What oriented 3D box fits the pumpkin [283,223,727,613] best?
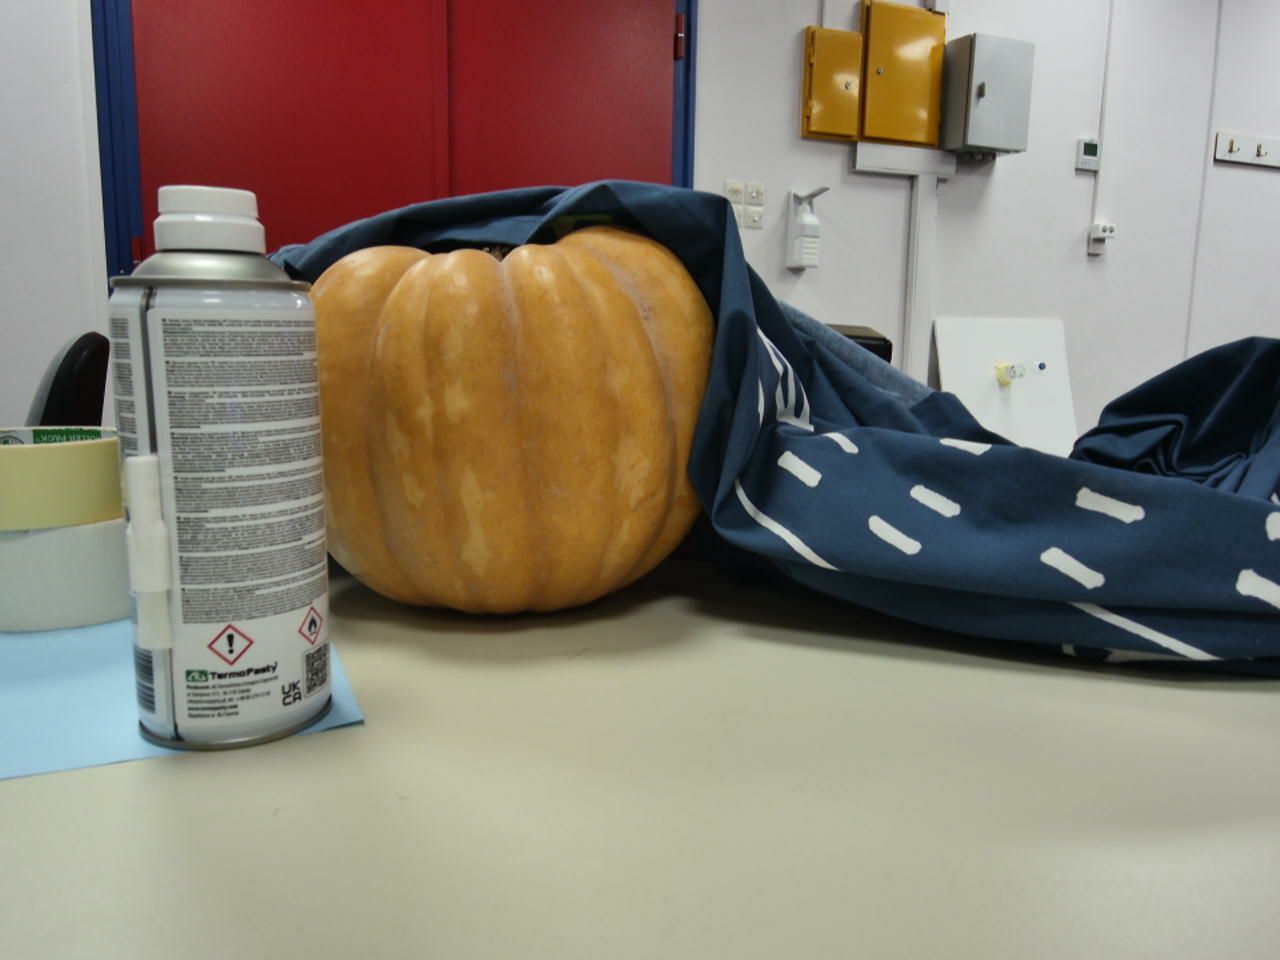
[{"bbox_3d":[-0.065,-0.033,0.517,0.230,0.194,0.230,0,7,0],"label":"pumpkin"}]
